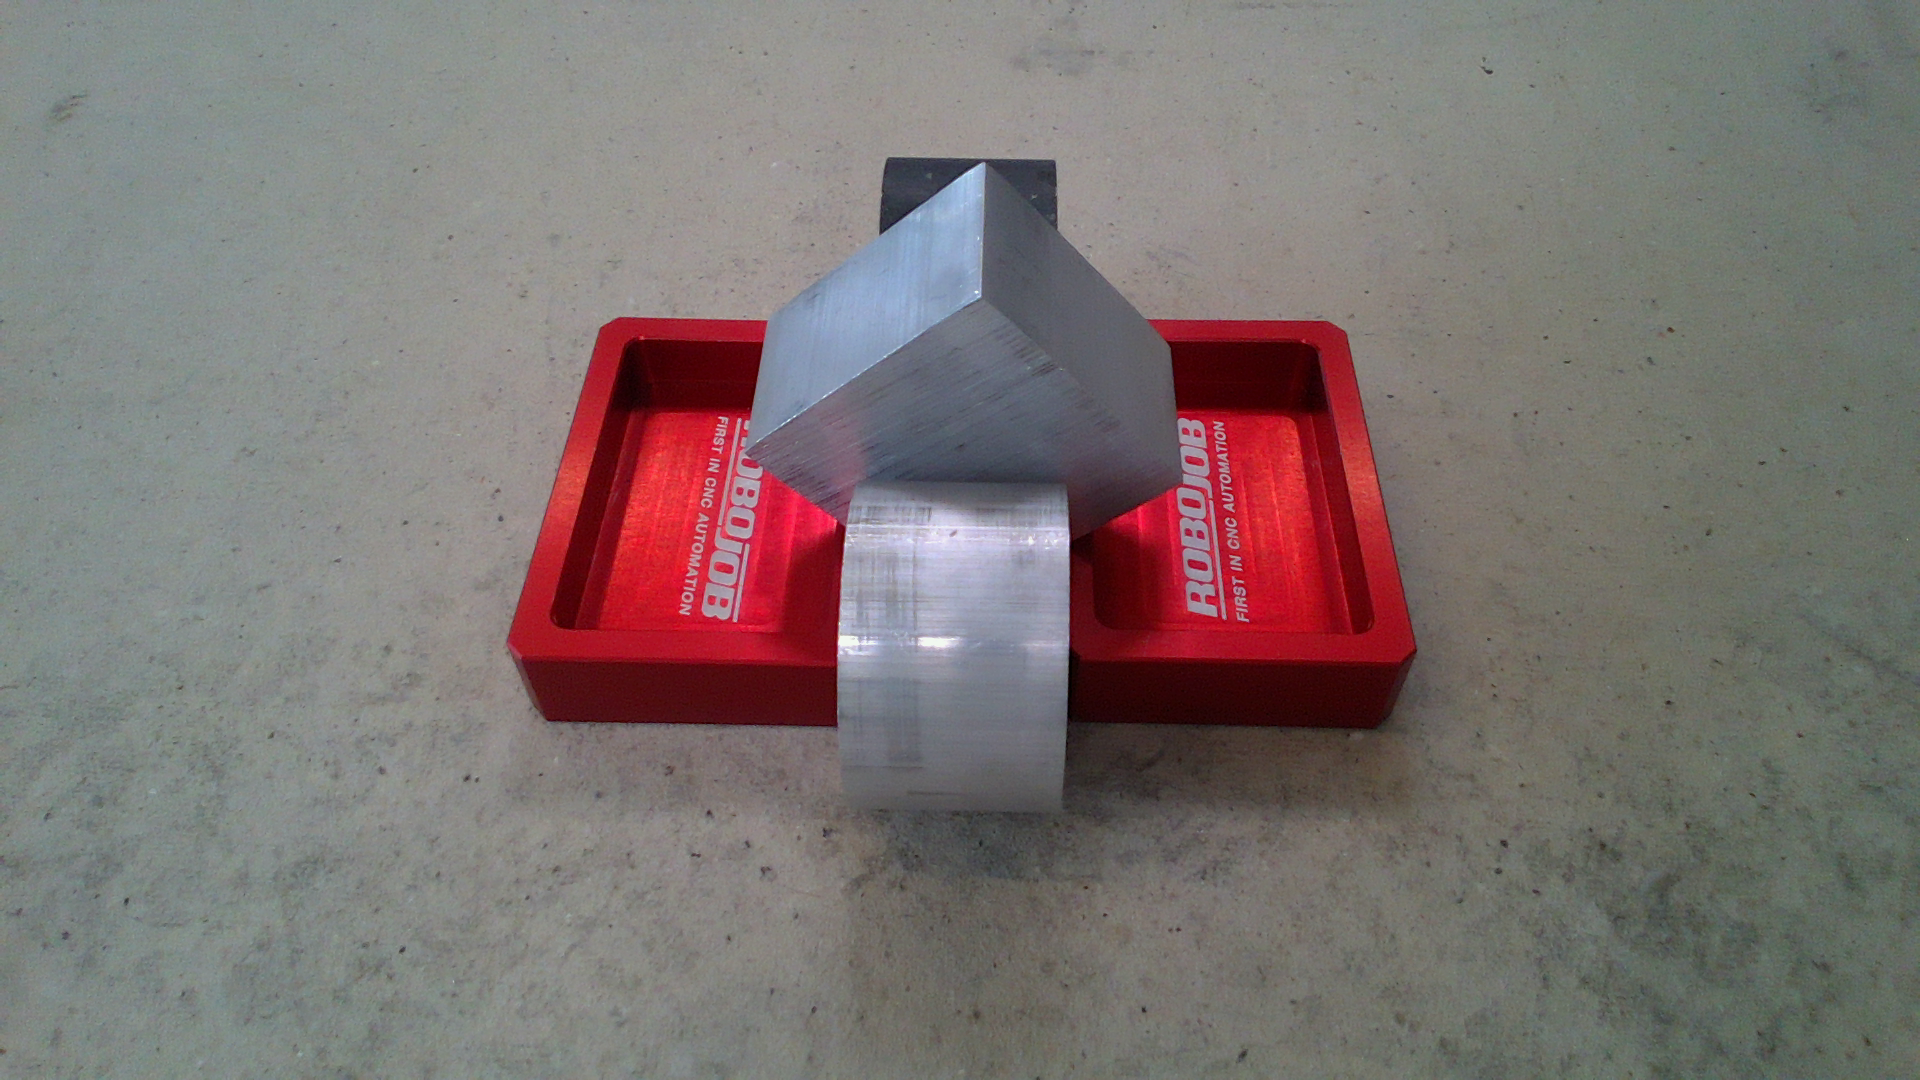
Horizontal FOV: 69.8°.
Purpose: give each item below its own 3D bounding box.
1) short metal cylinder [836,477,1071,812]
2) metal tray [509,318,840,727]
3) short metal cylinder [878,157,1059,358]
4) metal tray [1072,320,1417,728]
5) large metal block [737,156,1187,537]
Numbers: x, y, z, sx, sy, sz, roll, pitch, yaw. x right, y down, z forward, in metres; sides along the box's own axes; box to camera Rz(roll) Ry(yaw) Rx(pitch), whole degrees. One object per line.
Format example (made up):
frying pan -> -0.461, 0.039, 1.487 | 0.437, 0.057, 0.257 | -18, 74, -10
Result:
short metal cylinder -> 0.000, 0.025, 0.334 | 0.050, 0.080, 0.080 | 2, 50, 2
metal tray -> -0.067, -0.010, 0.397 | 0.090, 0.030, 0.130 | 1, 50, 1
short metal cylinder -> 0.003, -0.075, 0.419 | 0.050, 0.080, 0.080 | 2, 50, 2
metal tray -> 0.072, -0.010, 0.397 | 0.090, 0.030, 0.130 | 1, 50, 1
large metal block -> 0.002, -0.038, 0.361 | 0.080, 0.080, 0.050 | -28, 42, 31
